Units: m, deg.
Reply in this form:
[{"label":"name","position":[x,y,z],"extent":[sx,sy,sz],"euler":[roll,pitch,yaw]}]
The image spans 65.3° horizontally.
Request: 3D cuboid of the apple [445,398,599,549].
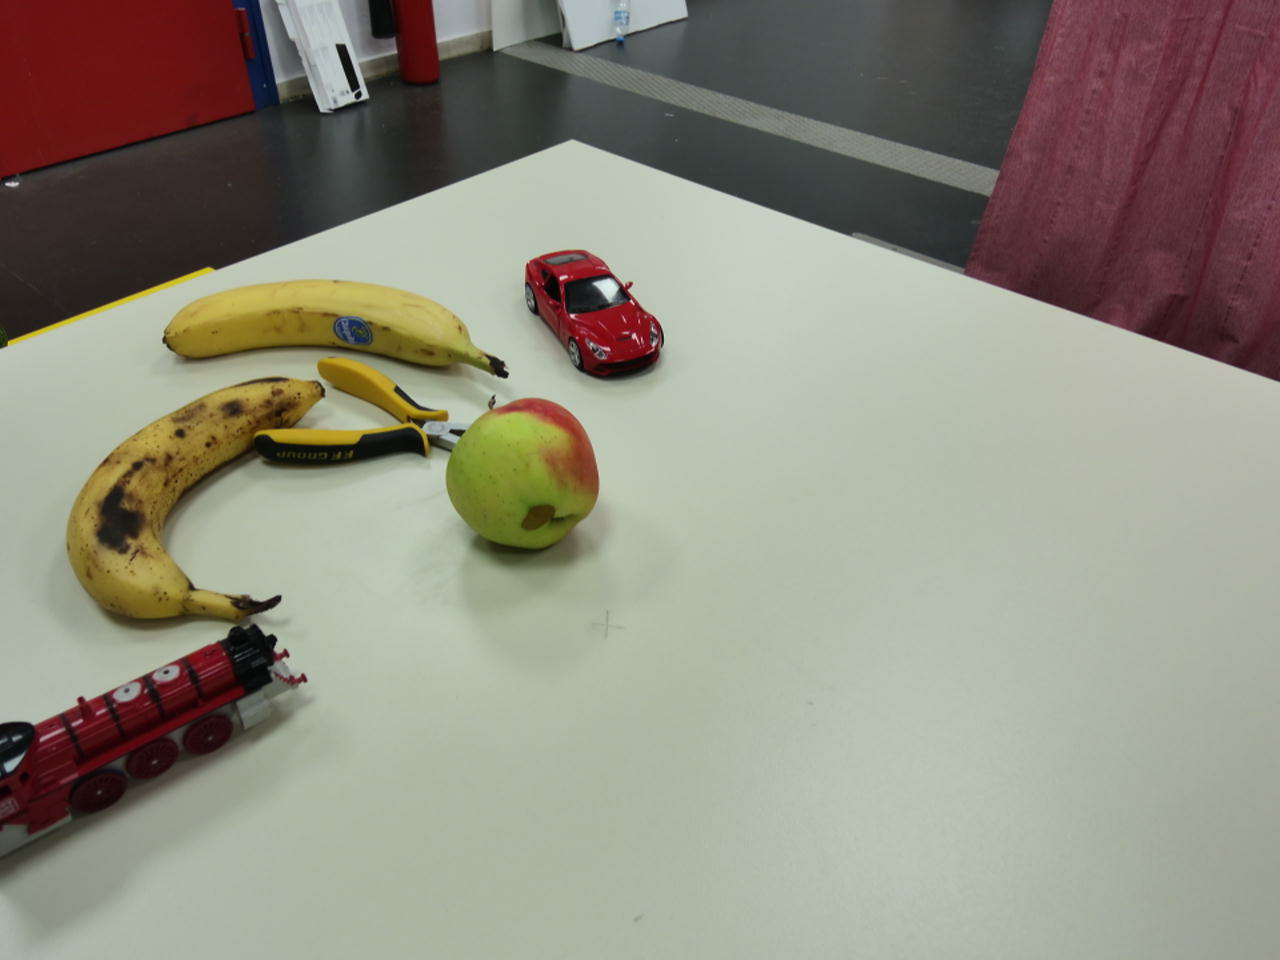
[{"label":"apple","position":[-0.057,-0.003,0.508],"extent":[0.075,0.074,0.075],"euler":[14,39,16]}]
